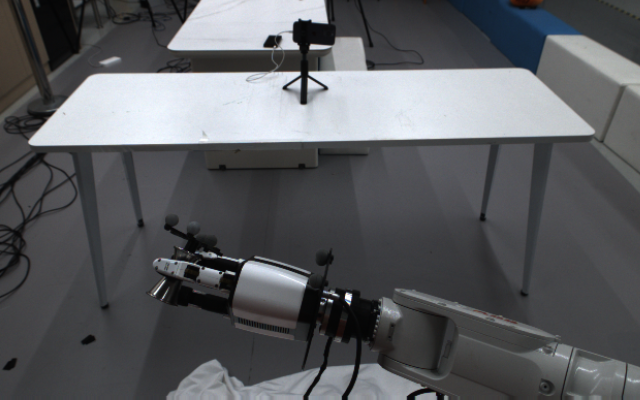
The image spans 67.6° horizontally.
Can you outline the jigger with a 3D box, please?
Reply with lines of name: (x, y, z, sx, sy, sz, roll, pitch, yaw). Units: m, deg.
jigger: (-0.187, 0.096, 0.621, 0.043, 0.043, 0.071, 20, 73, 24)
